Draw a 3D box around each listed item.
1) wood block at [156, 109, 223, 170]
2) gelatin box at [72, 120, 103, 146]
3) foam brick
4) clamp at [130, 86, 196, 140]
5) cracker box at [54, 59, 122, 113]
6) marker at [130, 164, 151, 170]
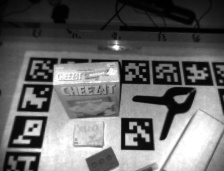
[{"bbox_3d":[0.216,0.182,0.610,0.089,0.091,0.207,33,66,18],"label":"wood block"},{"bbox_3d":[-0.073,0.145,0.658,0.089,0.030,0.073,1,66,0],"label":"gelatin box"},{"bbox_3d":[-0.036,0.213,0.610,0.078,0.051,0.052,-21,67,-9],"label":"foam brick"},{"bbox_3d":[0.185,0.057,0.695,0.203,0.037,0.164,-26,68,-12],"label":"clamp"},{"bbox_3d":[-0.057,0.012,0.612,0.164,0.214,0.071,-1,63,-2],"label":"cracker box"},{"bbox_3d":[0.052,0.250,0.610,0.121,0.020,0.019,-17,67,-8],"label":"marker"}]
